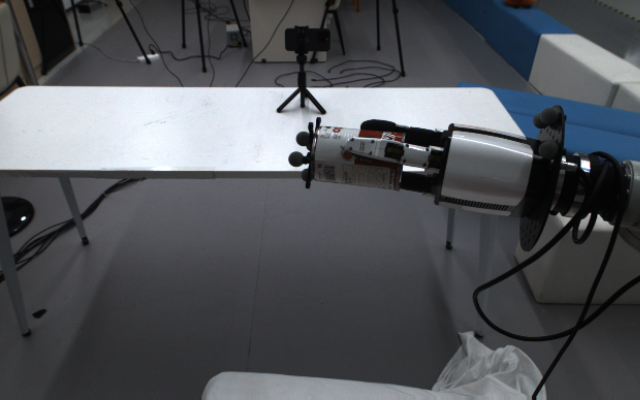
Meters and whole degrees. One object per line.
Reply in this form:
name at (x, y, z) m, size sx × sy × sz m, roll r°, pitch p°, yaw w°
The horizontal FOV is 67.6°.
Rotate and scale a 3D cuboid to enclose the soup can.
soup can at (0.048, -0.052, 0.569) m, size 0.101 × 0.067 × 0.067 m, roll 6°, pitch 35°, yaw 10°
